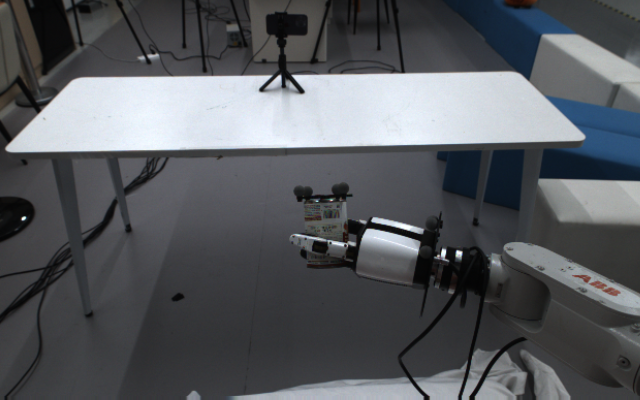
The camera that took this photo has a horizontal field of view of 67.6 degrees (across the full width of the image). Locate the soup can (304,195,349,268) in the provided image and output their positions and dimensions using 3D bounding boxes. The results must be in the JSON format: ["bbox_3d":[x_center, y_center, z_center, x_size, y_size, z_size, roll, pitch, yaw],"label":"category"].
[{"bbox_3d":[0.011,0.050,0.737,0.067,0.101,0.067,-3,-1,0],"label":"soup can"}]
